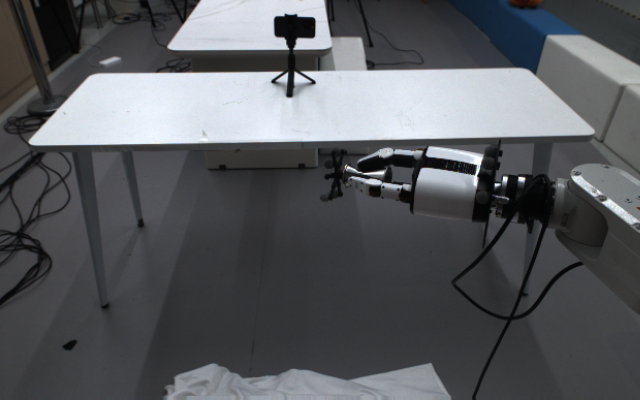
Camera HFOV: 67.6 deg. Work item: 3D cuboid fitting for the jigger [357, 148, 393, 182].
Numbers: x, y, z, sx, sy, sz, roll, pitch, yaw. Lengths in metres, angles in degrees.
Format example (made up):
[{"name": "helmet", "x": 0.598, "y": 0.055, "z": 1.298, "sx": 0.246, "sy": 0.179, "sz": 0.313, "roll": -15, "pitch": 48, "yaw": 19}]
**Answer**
[{"name": "jigger", "x": 0.079, "y": -0.038, "z": 0.753, "sx": 0.071, "sy": 0.043, "sz": 0.043, "roll": 8, "pitch": 34, "yaw": 23}]
